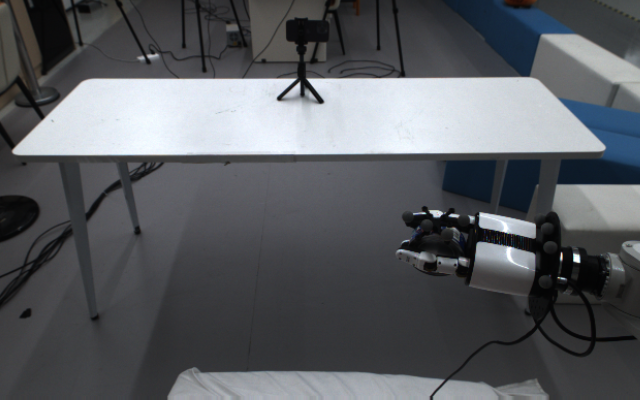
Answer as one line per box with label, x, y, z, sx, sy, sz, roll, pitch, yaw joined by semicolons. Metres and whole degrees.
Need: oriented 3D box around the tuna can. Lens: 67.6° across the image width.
tuna can;0.180;0.073;0.738;0.085;0.085;0.034;12;39;14
